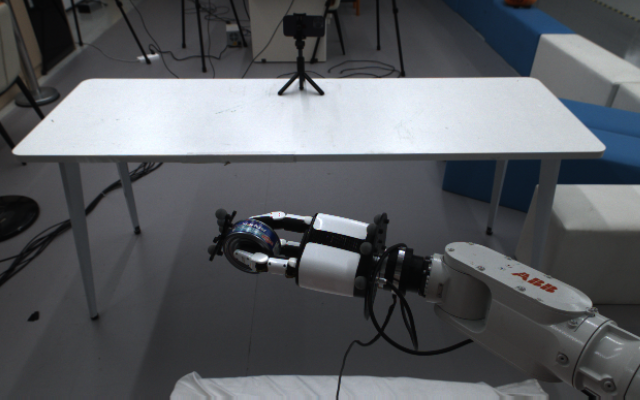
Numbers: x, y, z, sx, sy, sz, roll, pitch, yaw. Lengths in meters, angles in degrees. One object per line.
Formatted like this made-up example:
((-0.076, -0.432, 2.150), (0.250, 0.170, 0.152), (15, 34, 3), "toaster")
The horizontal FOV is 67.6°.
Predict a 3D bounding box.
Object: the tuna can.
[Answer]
((-0.104, 0.077, 0.744), (0.085, 0.085, 0.034), (10, 36, 11), "tuna can")
